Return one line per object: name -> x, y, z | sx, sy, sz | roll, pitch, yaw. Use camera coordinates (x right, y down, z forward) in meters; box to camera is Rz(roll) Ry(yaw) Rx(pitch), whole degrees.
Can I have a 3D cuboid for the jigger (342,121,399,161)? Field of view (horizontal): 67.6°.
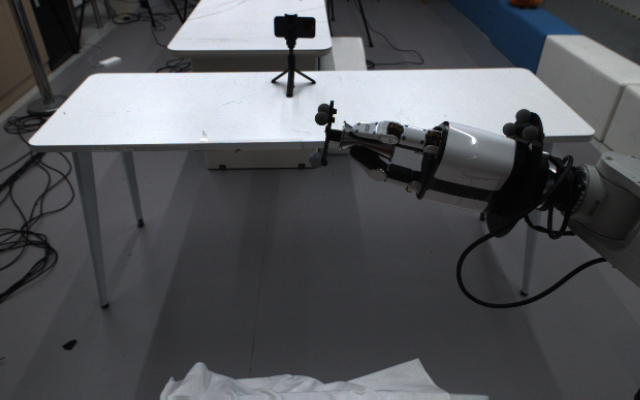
jigger -> 0.067, -0.078, 0.617 | 0.071, 0.043, 0.043 | 9, 35, 2
